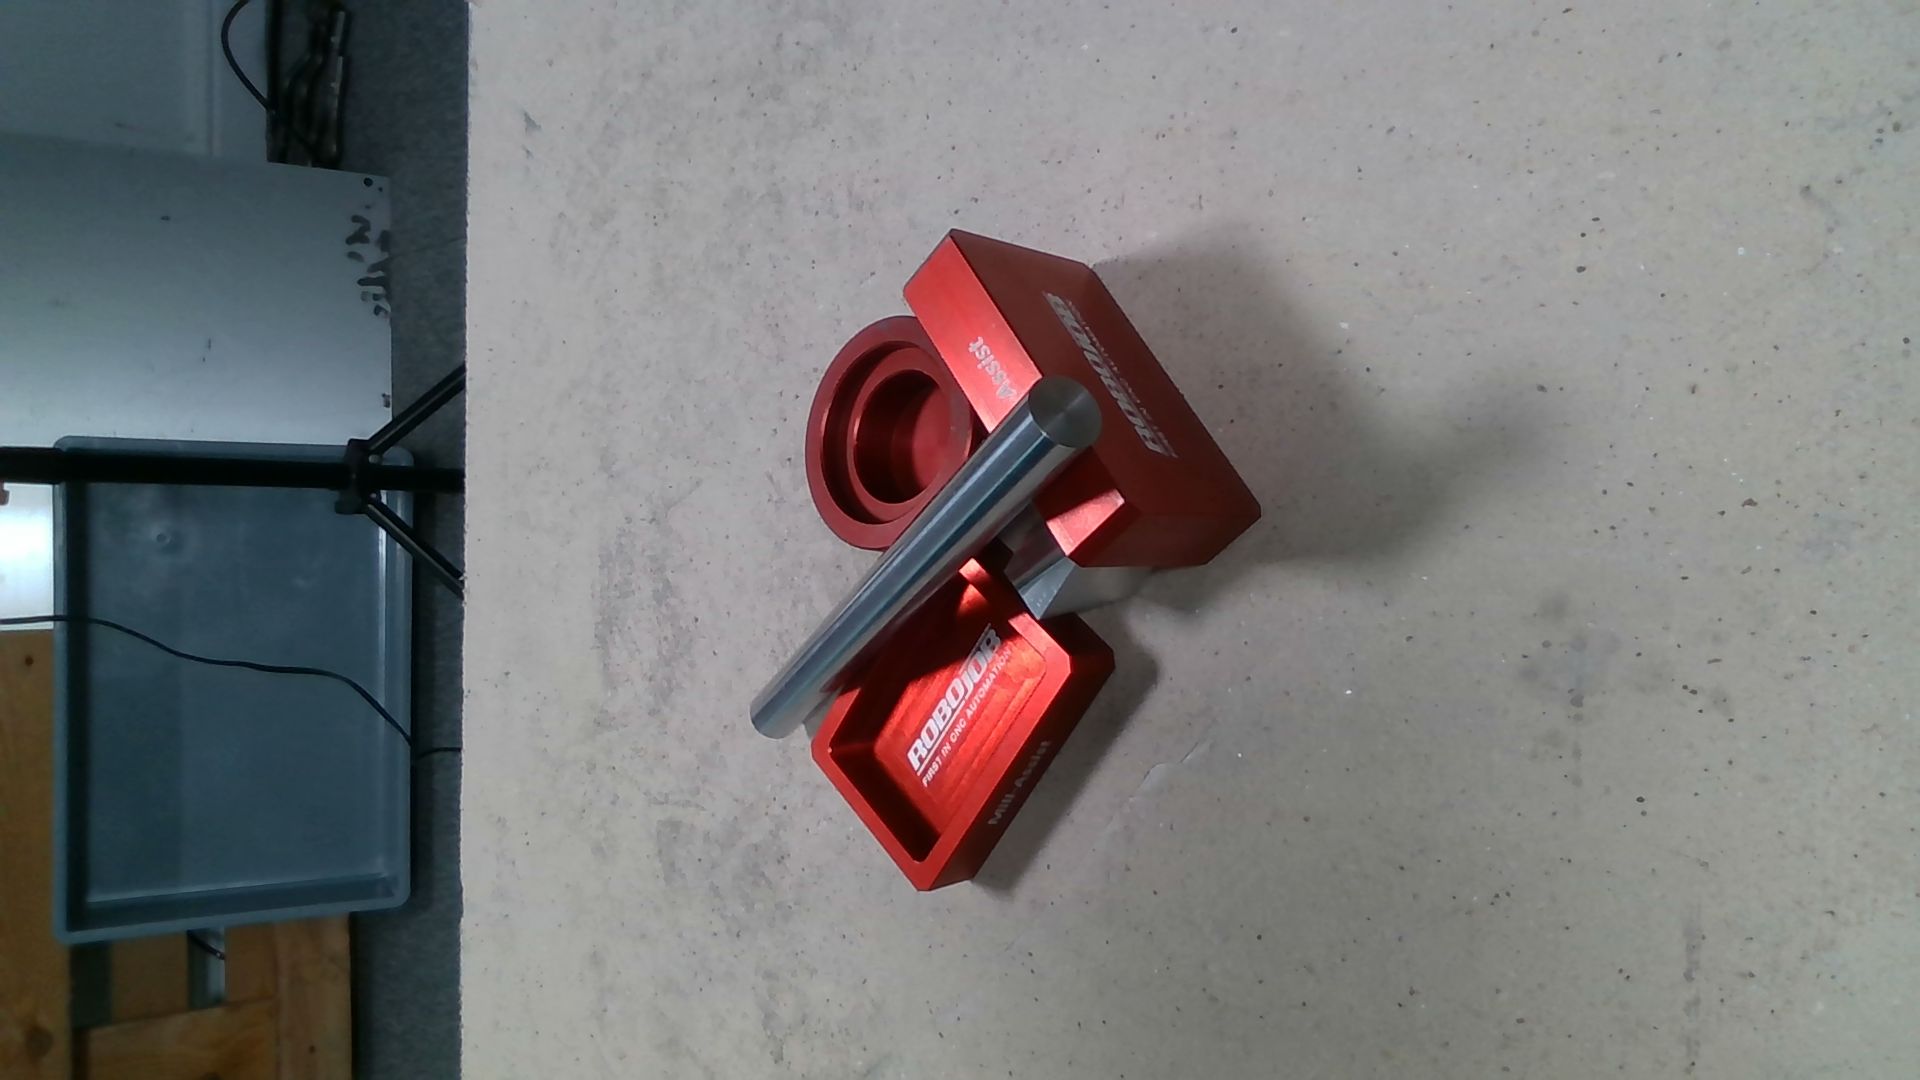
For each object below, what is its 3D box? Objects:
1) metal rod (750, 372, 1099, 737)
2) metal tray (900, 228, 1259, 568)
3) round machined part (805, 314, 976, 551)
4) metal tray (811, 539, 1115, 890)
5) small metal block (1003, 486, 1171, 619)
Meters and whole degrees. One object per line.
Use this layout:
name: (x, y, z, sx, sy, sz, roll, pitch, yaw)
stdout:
metal rod: (-0.029, 0.022, 0.537, 0.301, 0.025, 0.025, -46, 60, 55)
metal tray: (0.044, -0.051, 0.501, 0.030, 0.090, 0.130, -45, 63, 31)
round machined part: (-0.018, -0.042, 0.581, 0.098, 0.042, 0.098, -7, 79, 43)
metal tray: (-0.003, 0.071, 0.582, 0.090, 0.030, 0.130, 45, 118, 30)
small metal block: (0.052, 0.000, 0.516, 0.025, 0.050, 0.050, 56, 137, 28)
